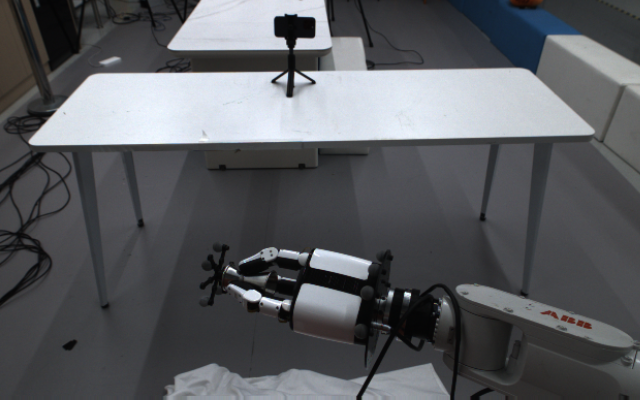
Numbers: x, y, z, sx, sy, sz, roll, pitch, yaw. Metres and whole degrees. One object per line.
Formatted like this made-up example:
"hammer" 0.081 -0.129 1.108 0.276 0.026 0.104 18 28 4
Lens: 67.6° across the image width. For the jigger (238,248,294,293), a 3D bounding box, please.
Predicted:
"jigger" -0.094 0.113 0.687 0.071 0.043 0.043 8 35 17
